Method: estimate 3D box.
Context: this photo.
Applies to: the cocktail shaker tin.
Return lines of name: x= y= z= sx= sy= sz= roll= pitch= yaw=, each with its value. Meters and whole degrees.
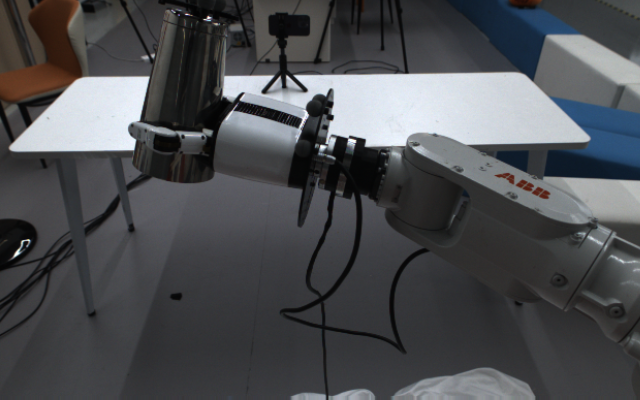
cocktail shaker tin: x=-0.149 y=-0.114 z=0.535 sx=0.093 sy=0.170 sz=0.093 roll=13 pitch=20 yaw=-5
